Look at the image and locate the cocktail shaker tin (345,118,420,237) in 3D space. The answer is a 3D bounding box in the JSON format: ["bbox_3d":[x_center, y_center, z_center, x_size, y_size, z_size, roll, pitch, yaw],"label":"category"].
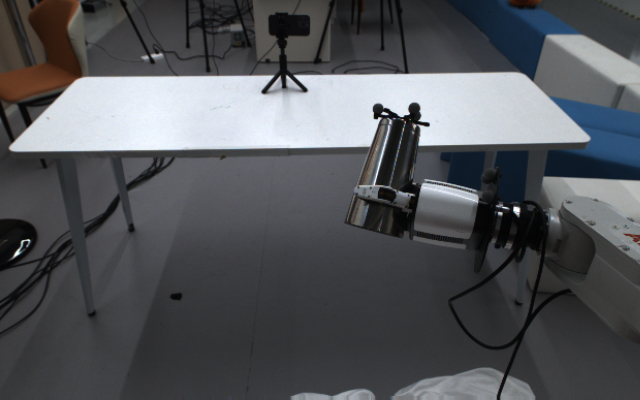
[{"bbox_3d":[0.102,-0.035,0.746,0.093,0.170,0.093,15,-4,1],"label":"cocktail shaker tin"}]
